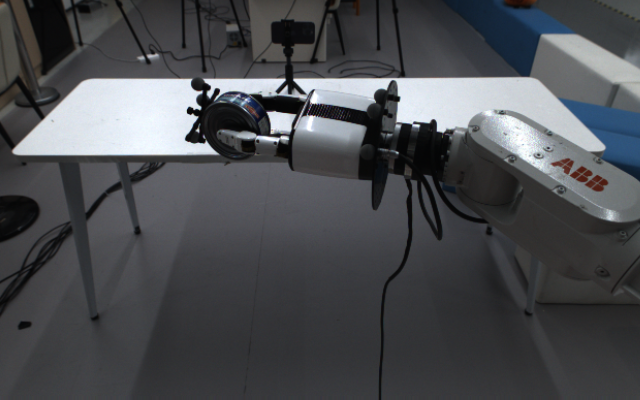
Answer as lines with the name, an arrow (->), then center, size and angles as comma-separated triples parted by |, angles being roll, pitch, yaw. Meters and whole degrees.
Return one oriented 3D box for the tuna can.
tuna can -> -0.109, -0.098, 0.633 | 0.085, 0.085, 0.034 | 11, 36, 12
